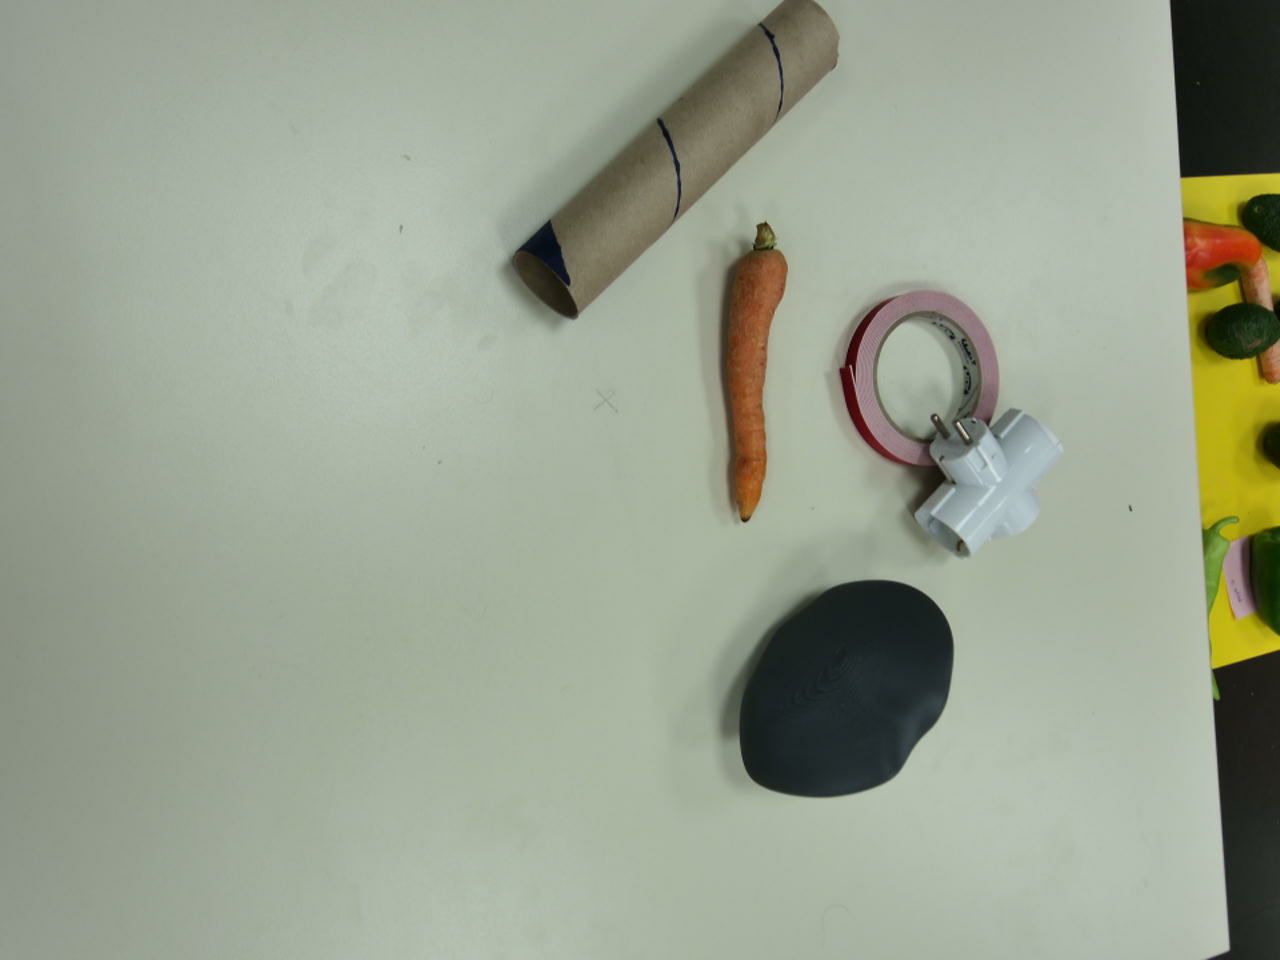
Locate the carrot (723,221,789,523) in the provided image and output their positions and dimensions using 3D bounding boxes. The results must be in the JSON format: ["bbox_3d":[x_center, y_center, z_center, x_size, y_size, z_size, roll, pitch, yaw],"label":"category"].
[{"bbox_3d":[0.065,-0.060,0.577,0.030,0.032,0.173,4,89,-22],"label":"carrot"}]
